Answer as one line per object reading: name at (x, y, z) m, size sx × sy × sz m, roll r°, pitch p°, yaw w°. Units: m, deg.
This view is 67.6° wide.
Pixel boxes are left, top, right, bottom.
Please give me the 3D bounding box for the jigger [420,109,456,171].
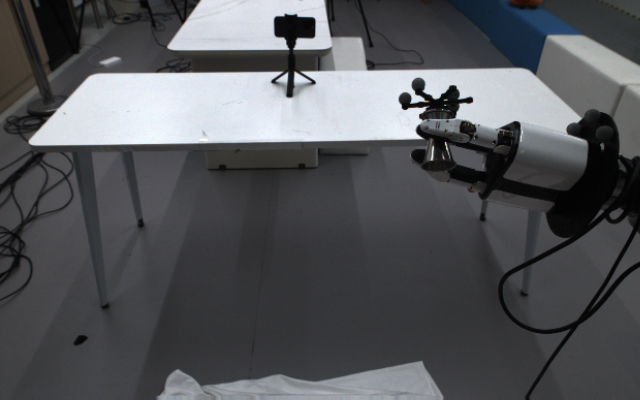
jigger at (0.146, -0.077, 0.605) m, size 0.043 × 0.043 × 0.071 m, roll 3°, pitch 76°, yaw 1°
